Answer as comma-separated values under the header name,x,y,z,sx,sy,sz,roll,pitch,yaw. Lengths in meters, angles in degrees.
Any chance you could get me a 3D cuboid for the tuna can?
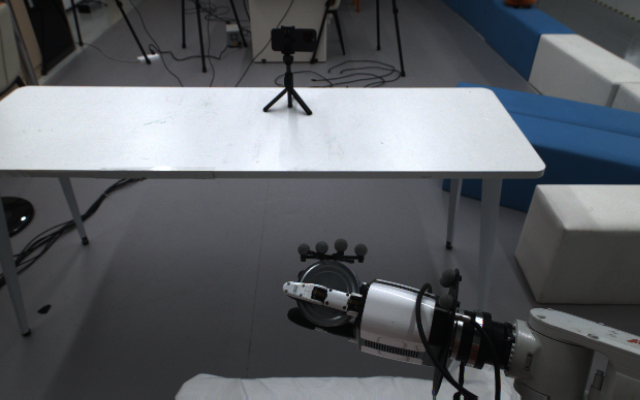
name,x,y,z,sx,sy,sz,roll,pitch,yaw
tuna can,0.015,0.124,0.642,0.085,0.034,0.085,-4,73,15
